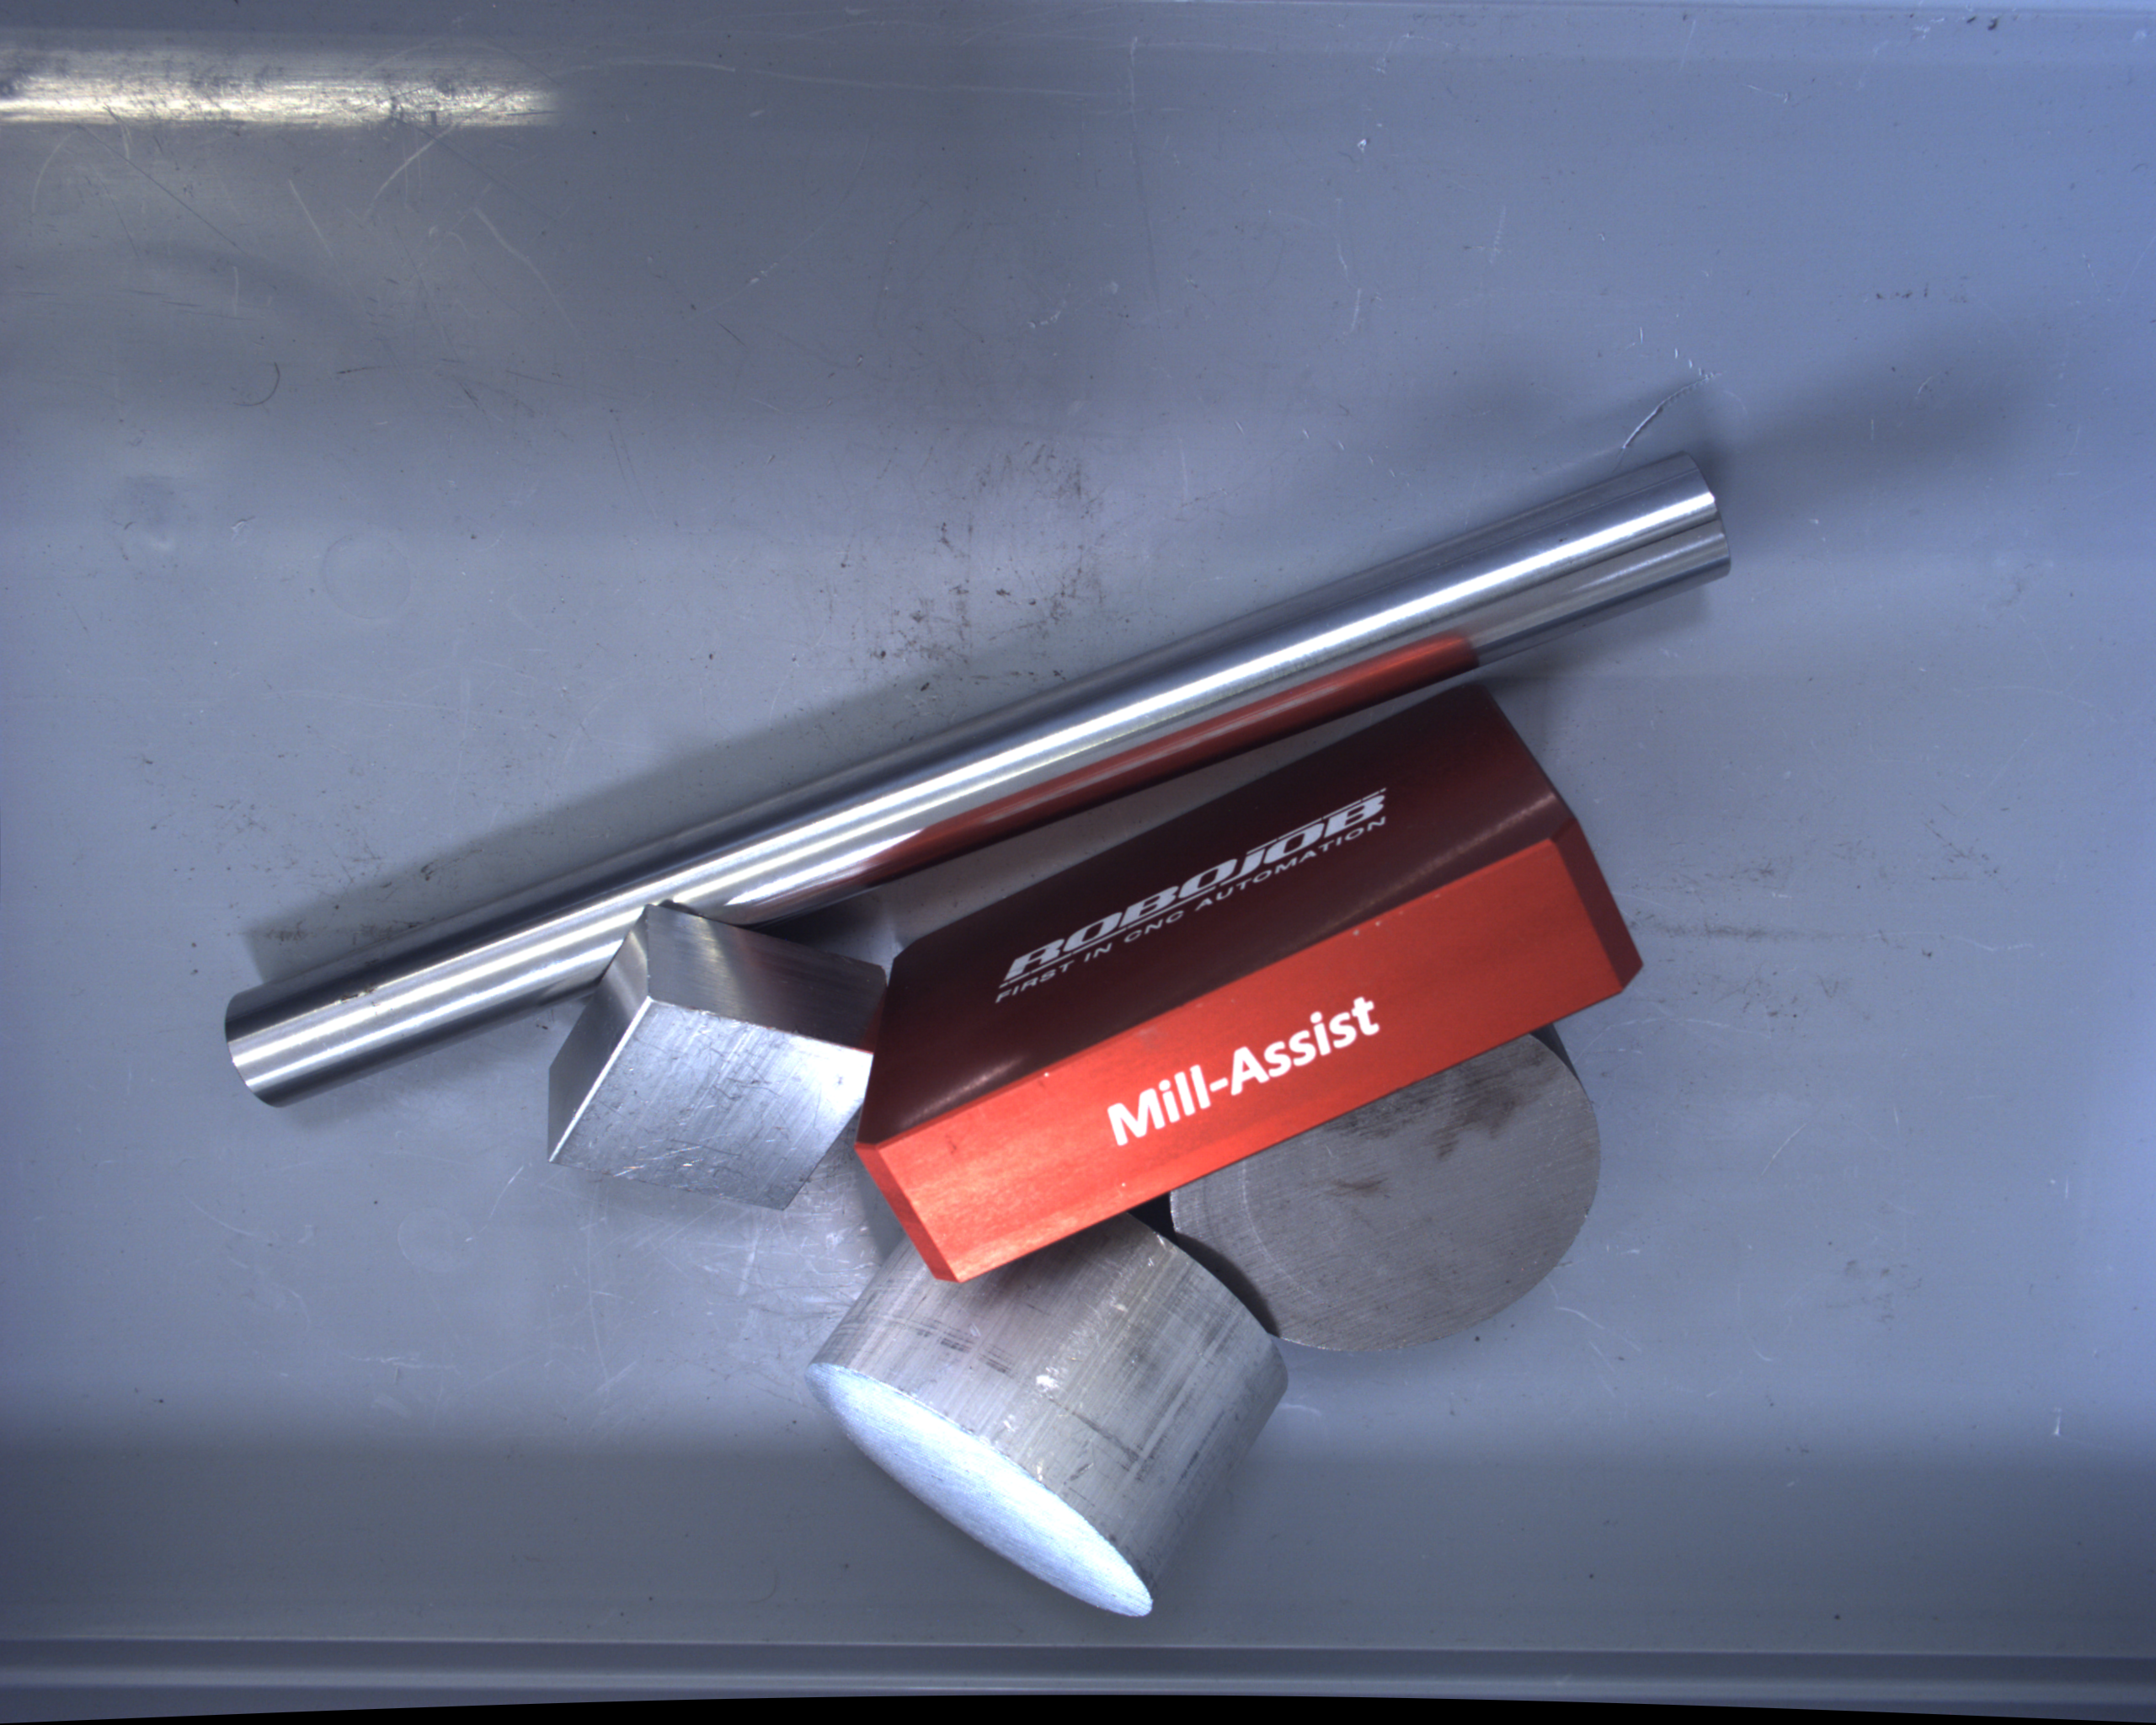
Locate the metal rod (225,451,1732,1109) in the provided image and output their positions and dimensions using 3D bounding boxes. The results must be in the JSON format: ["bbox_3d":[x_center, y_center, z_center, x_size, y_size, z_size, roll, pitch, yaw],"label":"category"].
[{"bbox_3d":[-0.024,-0.013,0.404,0.301,0.025,0.025,-20,109,7],"label":"metal rod"}]

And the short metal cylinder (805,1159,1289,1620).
[{"bbox_3d":[-0.006,0.103,0.411,0.080,0.080,0.050,45,63,-15],"label":"short metal cylinder"}]

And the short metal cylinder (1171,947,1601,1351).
[{"bbox_3d":[0.056,0.048,0.409,0.081,0.050,0.079,-2,119,-4],"label":"short metal cylinder"}]

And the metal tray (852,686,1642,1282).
[{"bbox_3d":[0.027,0.018,0.382,0.130,0.090,0.030,-25,108,9],"label":"metal tray"}]

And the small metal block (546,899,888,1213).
[{"bbox_3d":[-0.071,0.039,0.410,0.050,0.025,0.050,18,126,-27],"label":"small metal block"}]
